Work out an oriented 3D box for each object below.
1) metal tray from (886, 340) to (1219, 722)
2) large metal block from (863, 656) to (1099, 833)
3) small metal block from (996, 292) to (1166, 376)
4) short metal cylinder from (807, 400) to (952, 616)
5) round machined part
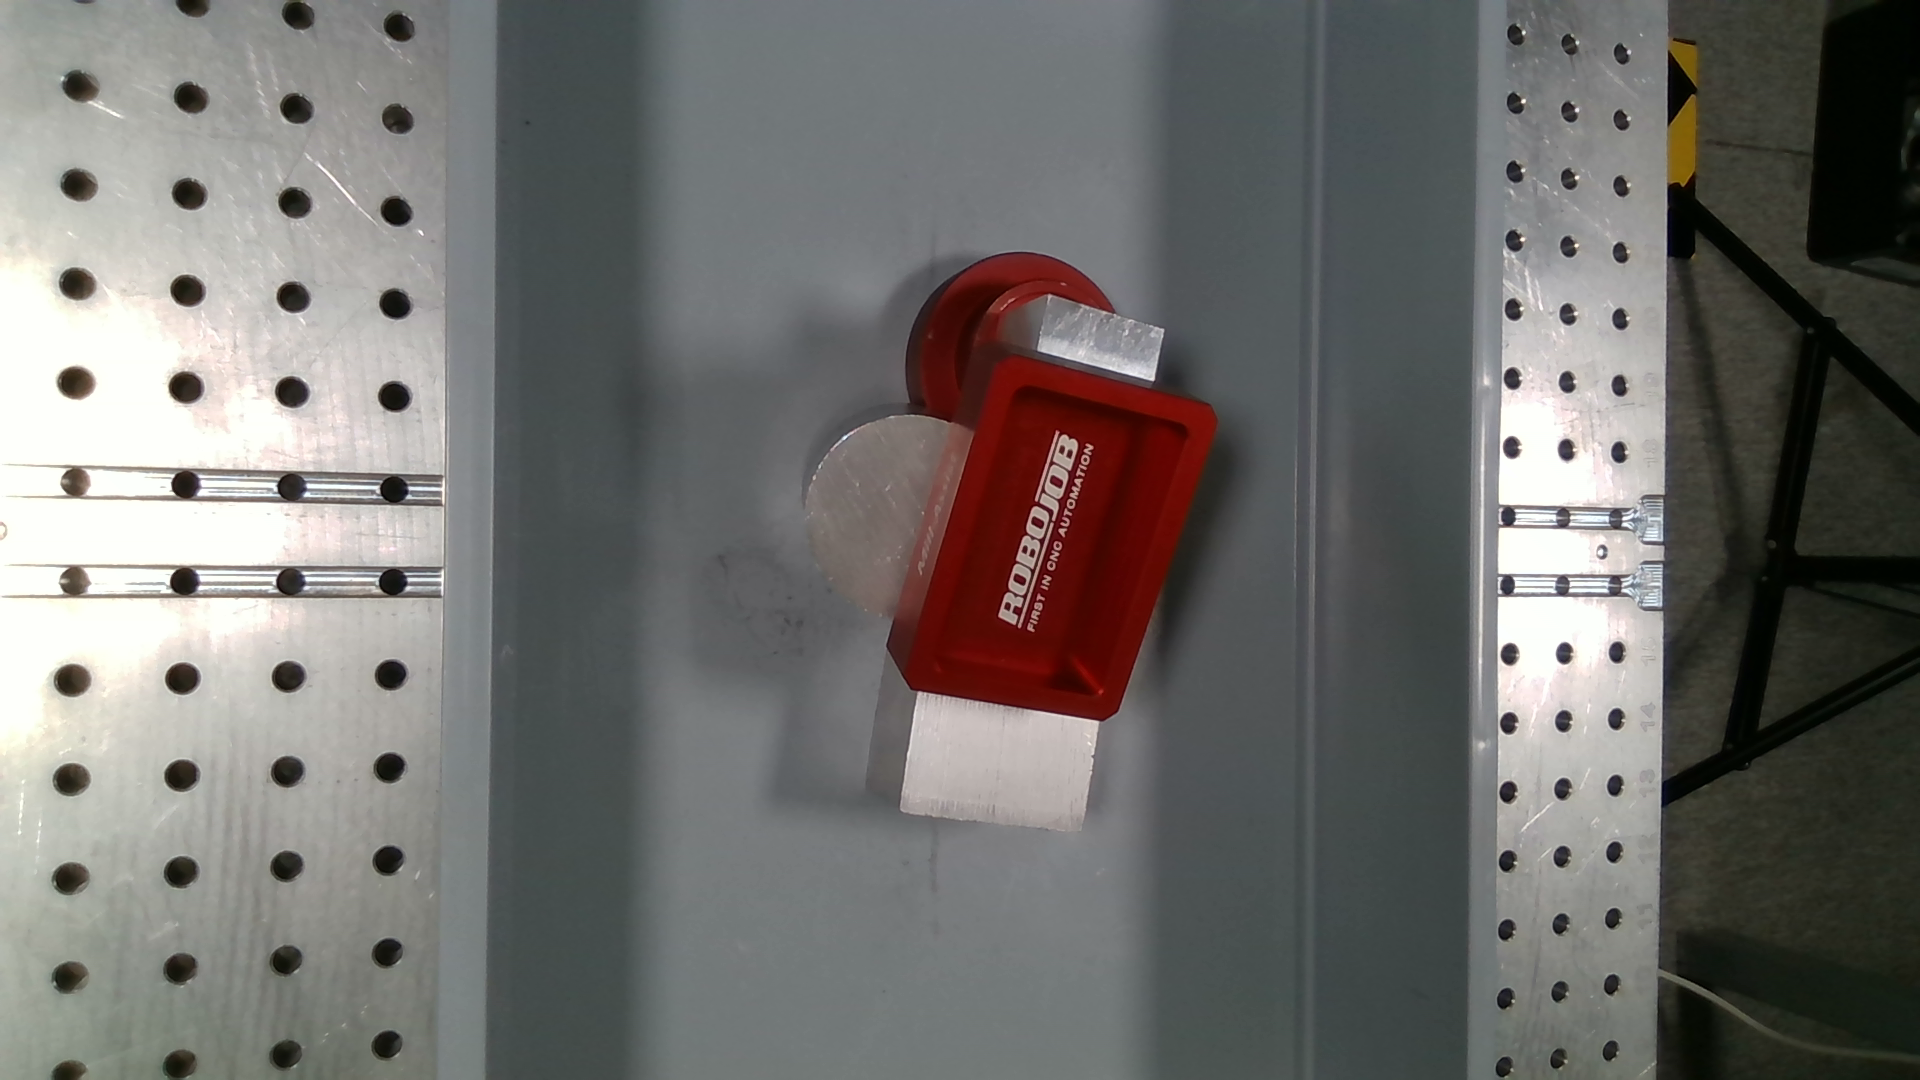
[{"bbox_3d":[0.033,-0.001,0.519,0.090,0.030,0.130,11,105,-20],"label":"metal tray"},{"bbox_3d":[0.011,0.074,0.575,0.080,0.050,0.080,10,87,-20],"label":"large metal block"},{"bbox_3d":[0.045,-0.074,0.543,0.050,0.050,0.025,13,85,-20],"label":"small metal block"},{"bbox_3d":[-0.021,-0.014,0.551,0.080,0.050,0.080,-1,102,-7],"label":"short metal cylinder"},{"bbox_3d":[0.029,-0.074,0.586,0.098,0.042,0.098,0,90,-20],"label":"round machined part"}]
